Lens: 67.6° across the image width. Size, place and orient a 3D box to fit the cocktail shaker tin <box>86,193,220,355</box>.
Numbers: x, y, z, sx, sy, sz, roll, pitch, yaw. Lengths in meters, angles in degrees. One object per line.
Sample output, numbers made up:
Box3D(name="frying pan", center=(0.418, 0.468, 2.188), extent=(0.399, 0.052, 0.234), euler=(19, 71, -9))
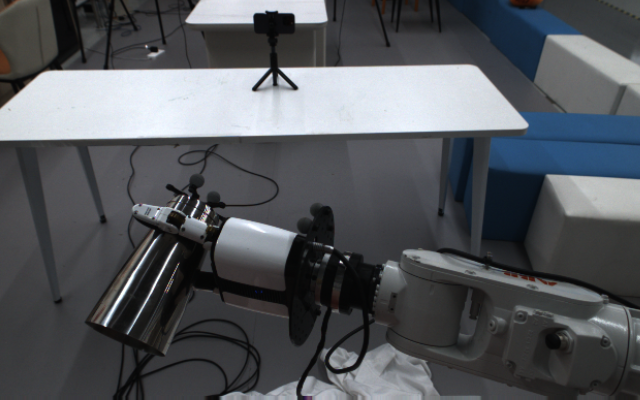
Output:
Box3D(name="cocktail shaker tin", center=(-0.181, 0.080, 0.562), extent=(0.093, 0.093, 0.170), euler=(13, 60, 15))
